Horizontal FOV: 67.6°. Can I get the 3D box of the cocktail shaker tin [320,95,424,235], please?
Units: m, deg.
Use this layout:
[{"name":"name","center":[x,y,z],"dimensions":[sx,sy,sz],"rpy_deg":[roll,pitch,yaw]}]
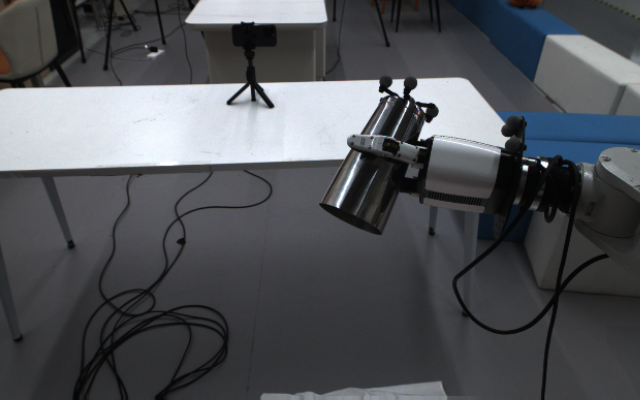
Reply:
[{"name":"cocktail shaker tin","center":[0.079,-0.053,0.648],"dimensions":[0.093,0.093,0.170],"rpy_deg":[21,81,25]}]
